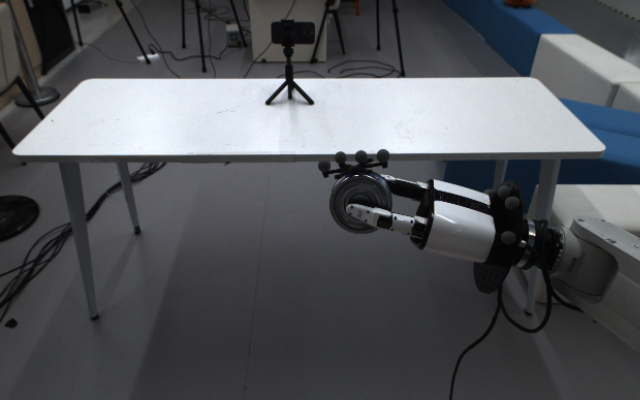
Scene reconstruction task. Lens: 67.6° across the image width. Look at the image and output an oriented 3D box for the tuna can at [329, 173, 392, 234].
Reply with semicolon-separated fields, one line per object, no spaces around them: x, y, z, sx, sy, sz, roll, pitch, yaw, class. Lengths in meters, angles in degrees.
0.060;0.009;0.661;0.085;0.085;0.034;6;18;5;tuna can
